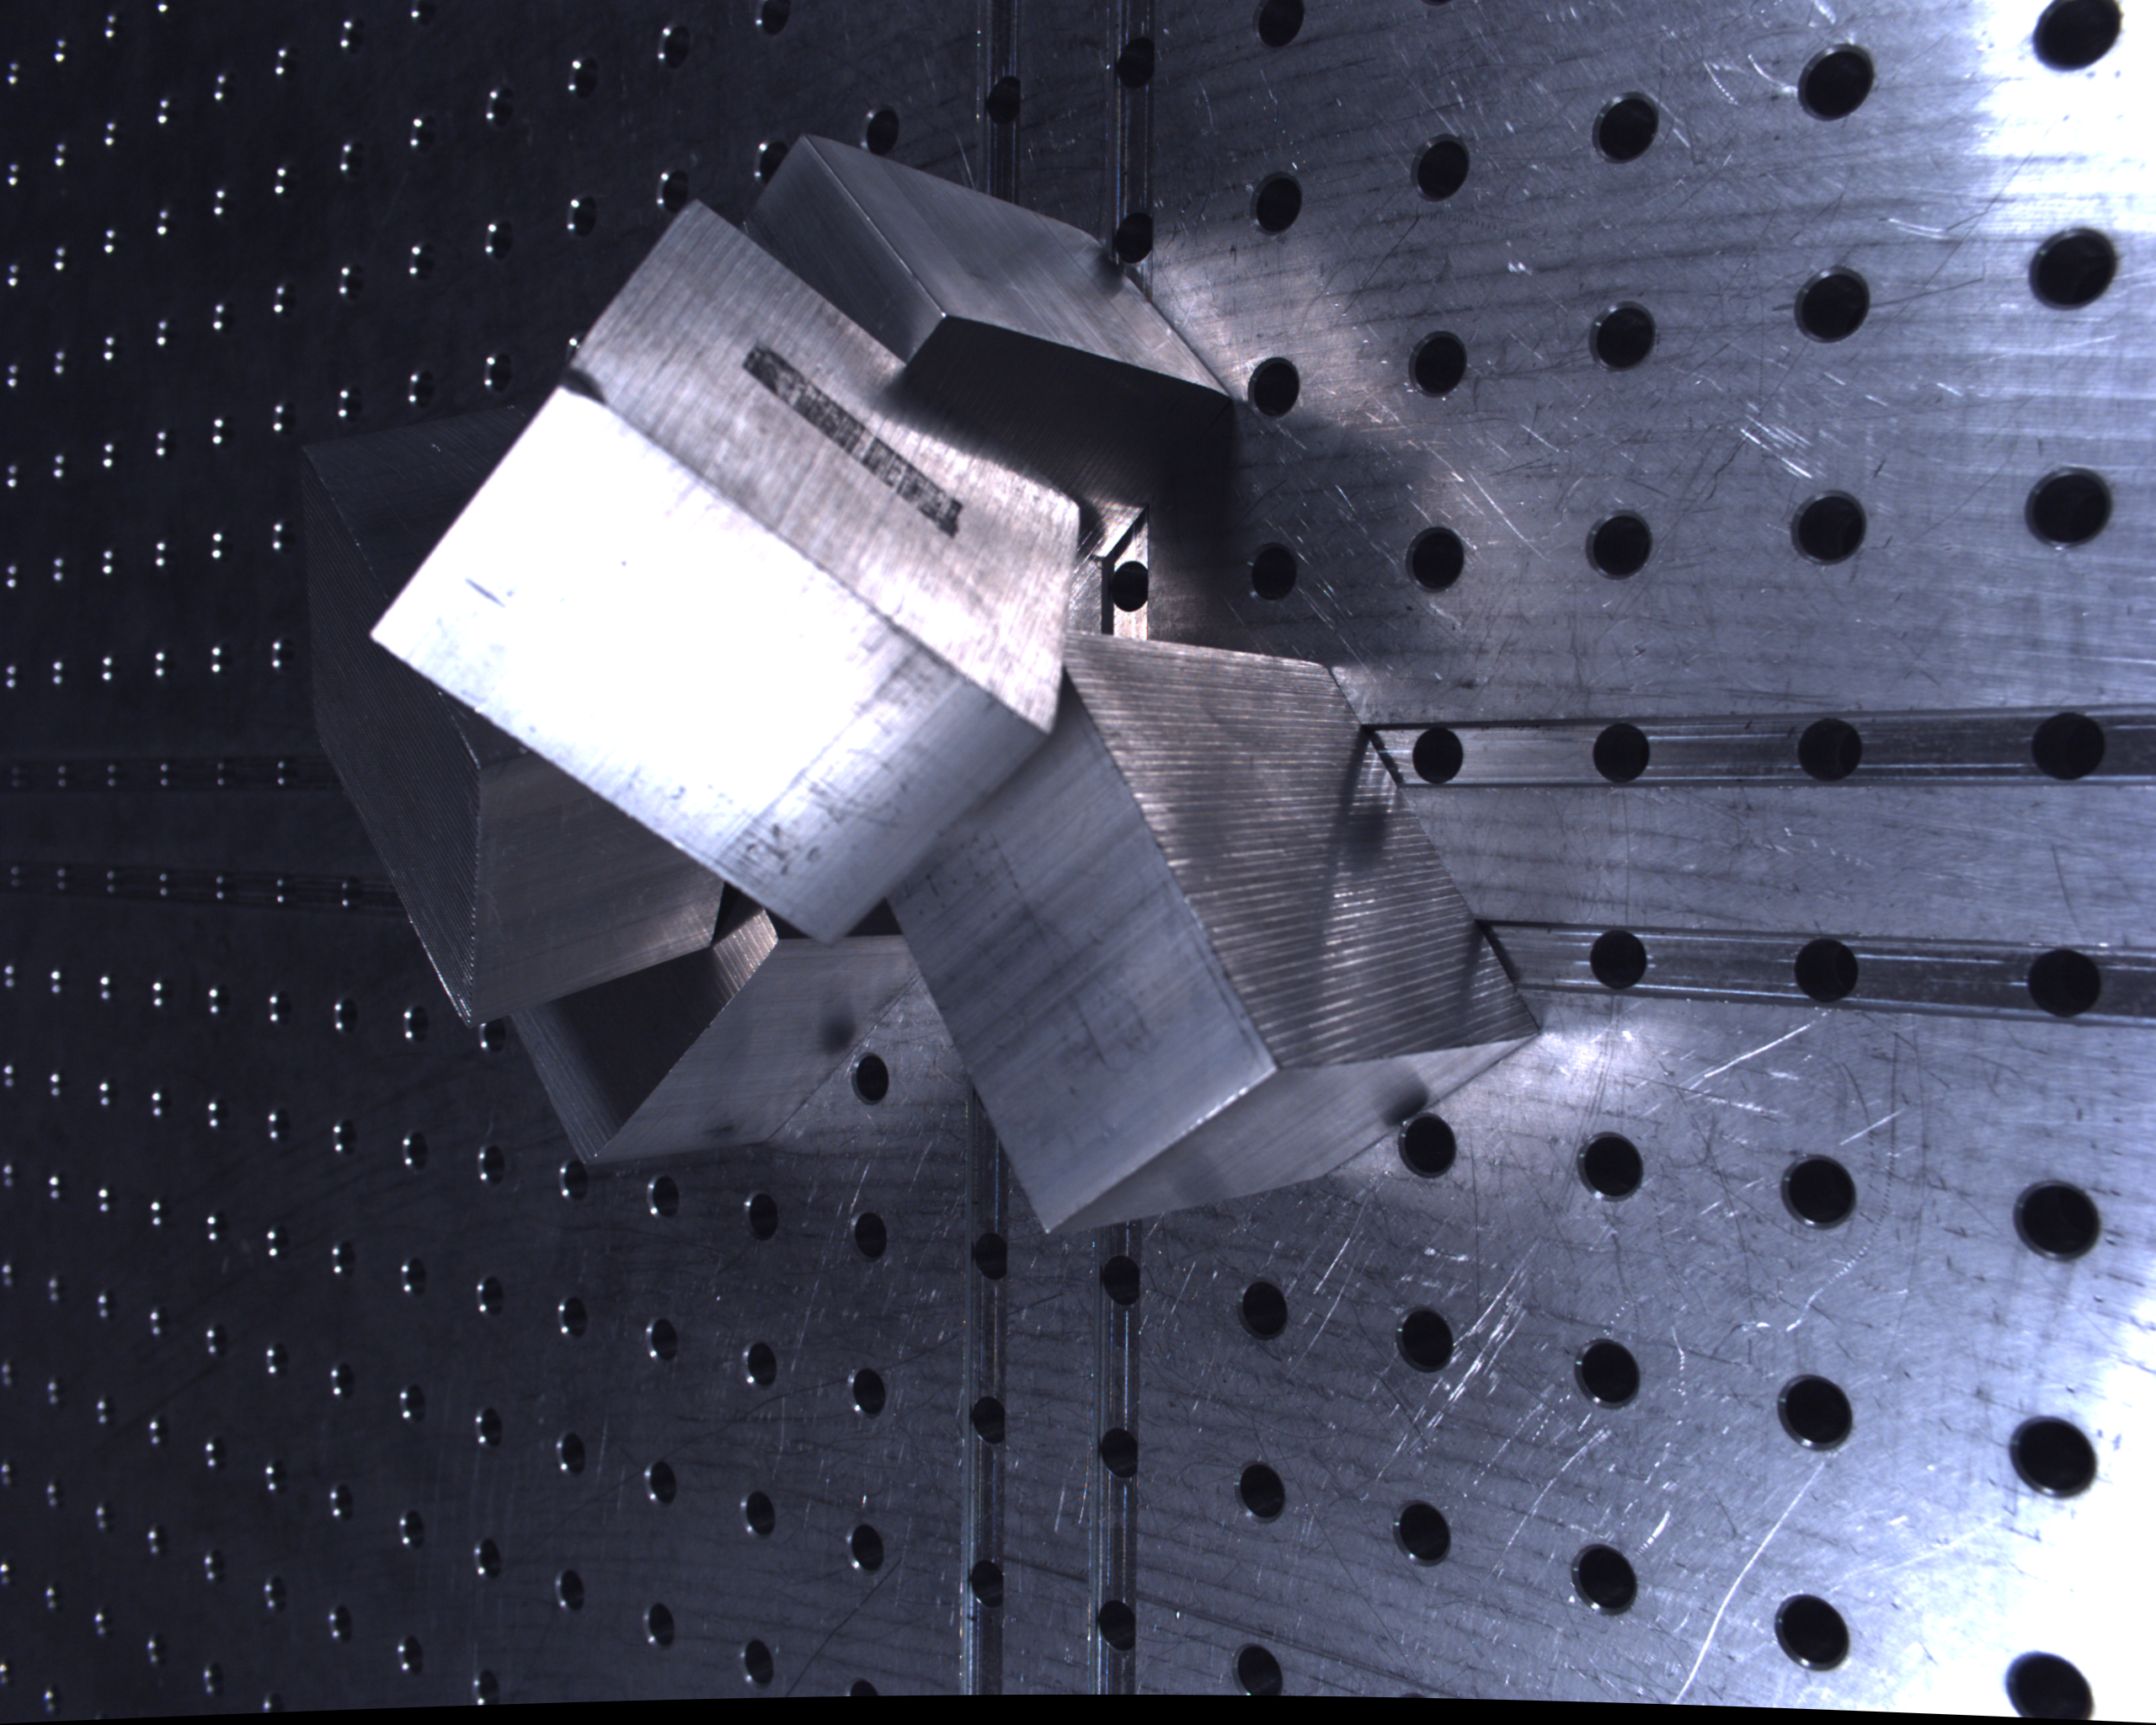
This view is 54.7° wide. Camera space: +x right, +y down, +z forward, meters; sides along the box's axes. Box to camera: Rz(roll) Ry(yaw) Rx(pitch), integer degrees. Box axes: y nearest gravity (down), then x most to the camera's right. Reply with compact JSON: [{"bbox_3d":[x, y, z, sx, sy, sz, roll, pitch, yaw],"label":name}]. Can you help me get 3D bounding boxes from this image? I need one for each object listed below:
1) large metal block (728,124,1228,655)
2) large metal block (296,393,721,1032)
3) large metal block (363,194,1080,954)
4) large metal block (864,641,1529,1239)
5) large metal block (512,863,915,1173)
[{"bbox_3d":[-0.033,-0.082,0.397,0.080,0.081,0.050,-49,61,29],"label":"large metal block"},{"bbox_3d":[-0.106,-0.029,0.392,0.080,0.050,0.079,55,147,25],"label":"large metal block"},{"bbox_3d":[-0.048,-0.046,0.319,0.050,0.080,0.080,-44,21,26],"label":"large metal block"},{"bbox_3d":[0.019,0.011,0.355,0.050,0.081,0.080,-41,65,32],"label":"large metal block"},{"bbox_3d":[-0.085,0.010,0.460,0.080,0.050,0.080,-47,63,29],"label":"large metal block"}]
